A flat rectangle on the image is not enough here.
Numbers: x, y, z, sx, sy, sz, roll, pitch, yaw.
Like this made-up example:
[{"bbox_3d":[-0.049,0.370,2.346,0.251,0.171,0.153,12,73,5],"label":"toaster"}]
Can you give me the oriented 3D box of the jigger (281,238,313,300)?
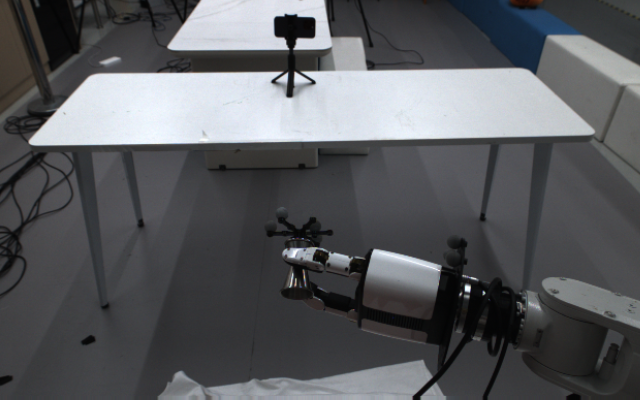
[{"bbox_3d":[-0.028,0.084,0.615,0.043,0.043,0.071,2,59,0],"label":"jigger"}]
